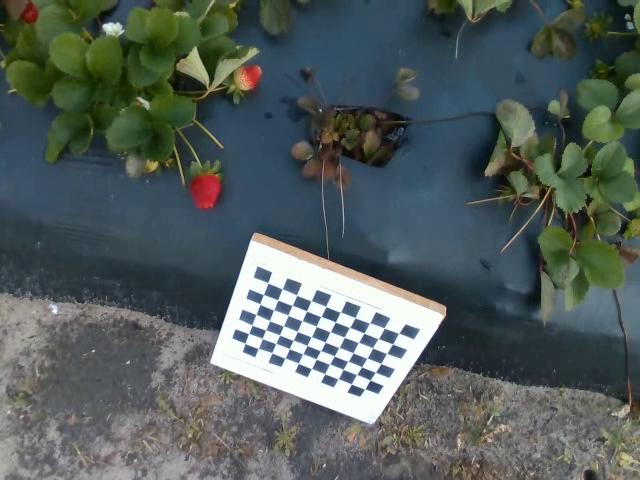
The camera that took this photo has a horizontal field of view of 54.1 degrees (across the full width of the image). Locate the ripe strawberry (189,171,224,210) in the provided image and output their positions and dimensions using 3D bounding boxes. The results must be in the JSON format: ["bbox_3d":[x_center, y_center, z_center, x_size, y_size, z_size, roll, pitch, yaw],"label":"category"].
[{"bbox_3d":[-0.149,-0.060,0.805,0.045,0.055,0.042,-19,-35,28],"label":"ripe strawberry"}]
